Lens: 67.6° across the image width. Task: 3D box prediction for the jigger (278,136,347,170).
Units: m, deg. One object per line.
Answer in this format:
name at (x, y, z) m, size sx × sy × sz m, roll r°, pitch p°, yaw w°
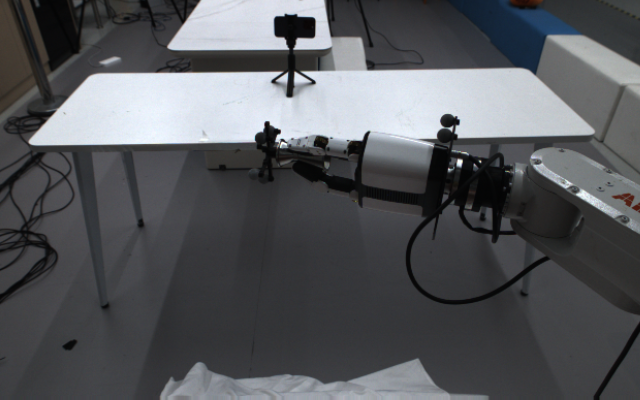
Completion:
jigger at (-0.016, -0.067, 0.666) m, size 0.071 × 0.043 × 0.043 m, roll 5°, pitch 34°, yaw 13°
